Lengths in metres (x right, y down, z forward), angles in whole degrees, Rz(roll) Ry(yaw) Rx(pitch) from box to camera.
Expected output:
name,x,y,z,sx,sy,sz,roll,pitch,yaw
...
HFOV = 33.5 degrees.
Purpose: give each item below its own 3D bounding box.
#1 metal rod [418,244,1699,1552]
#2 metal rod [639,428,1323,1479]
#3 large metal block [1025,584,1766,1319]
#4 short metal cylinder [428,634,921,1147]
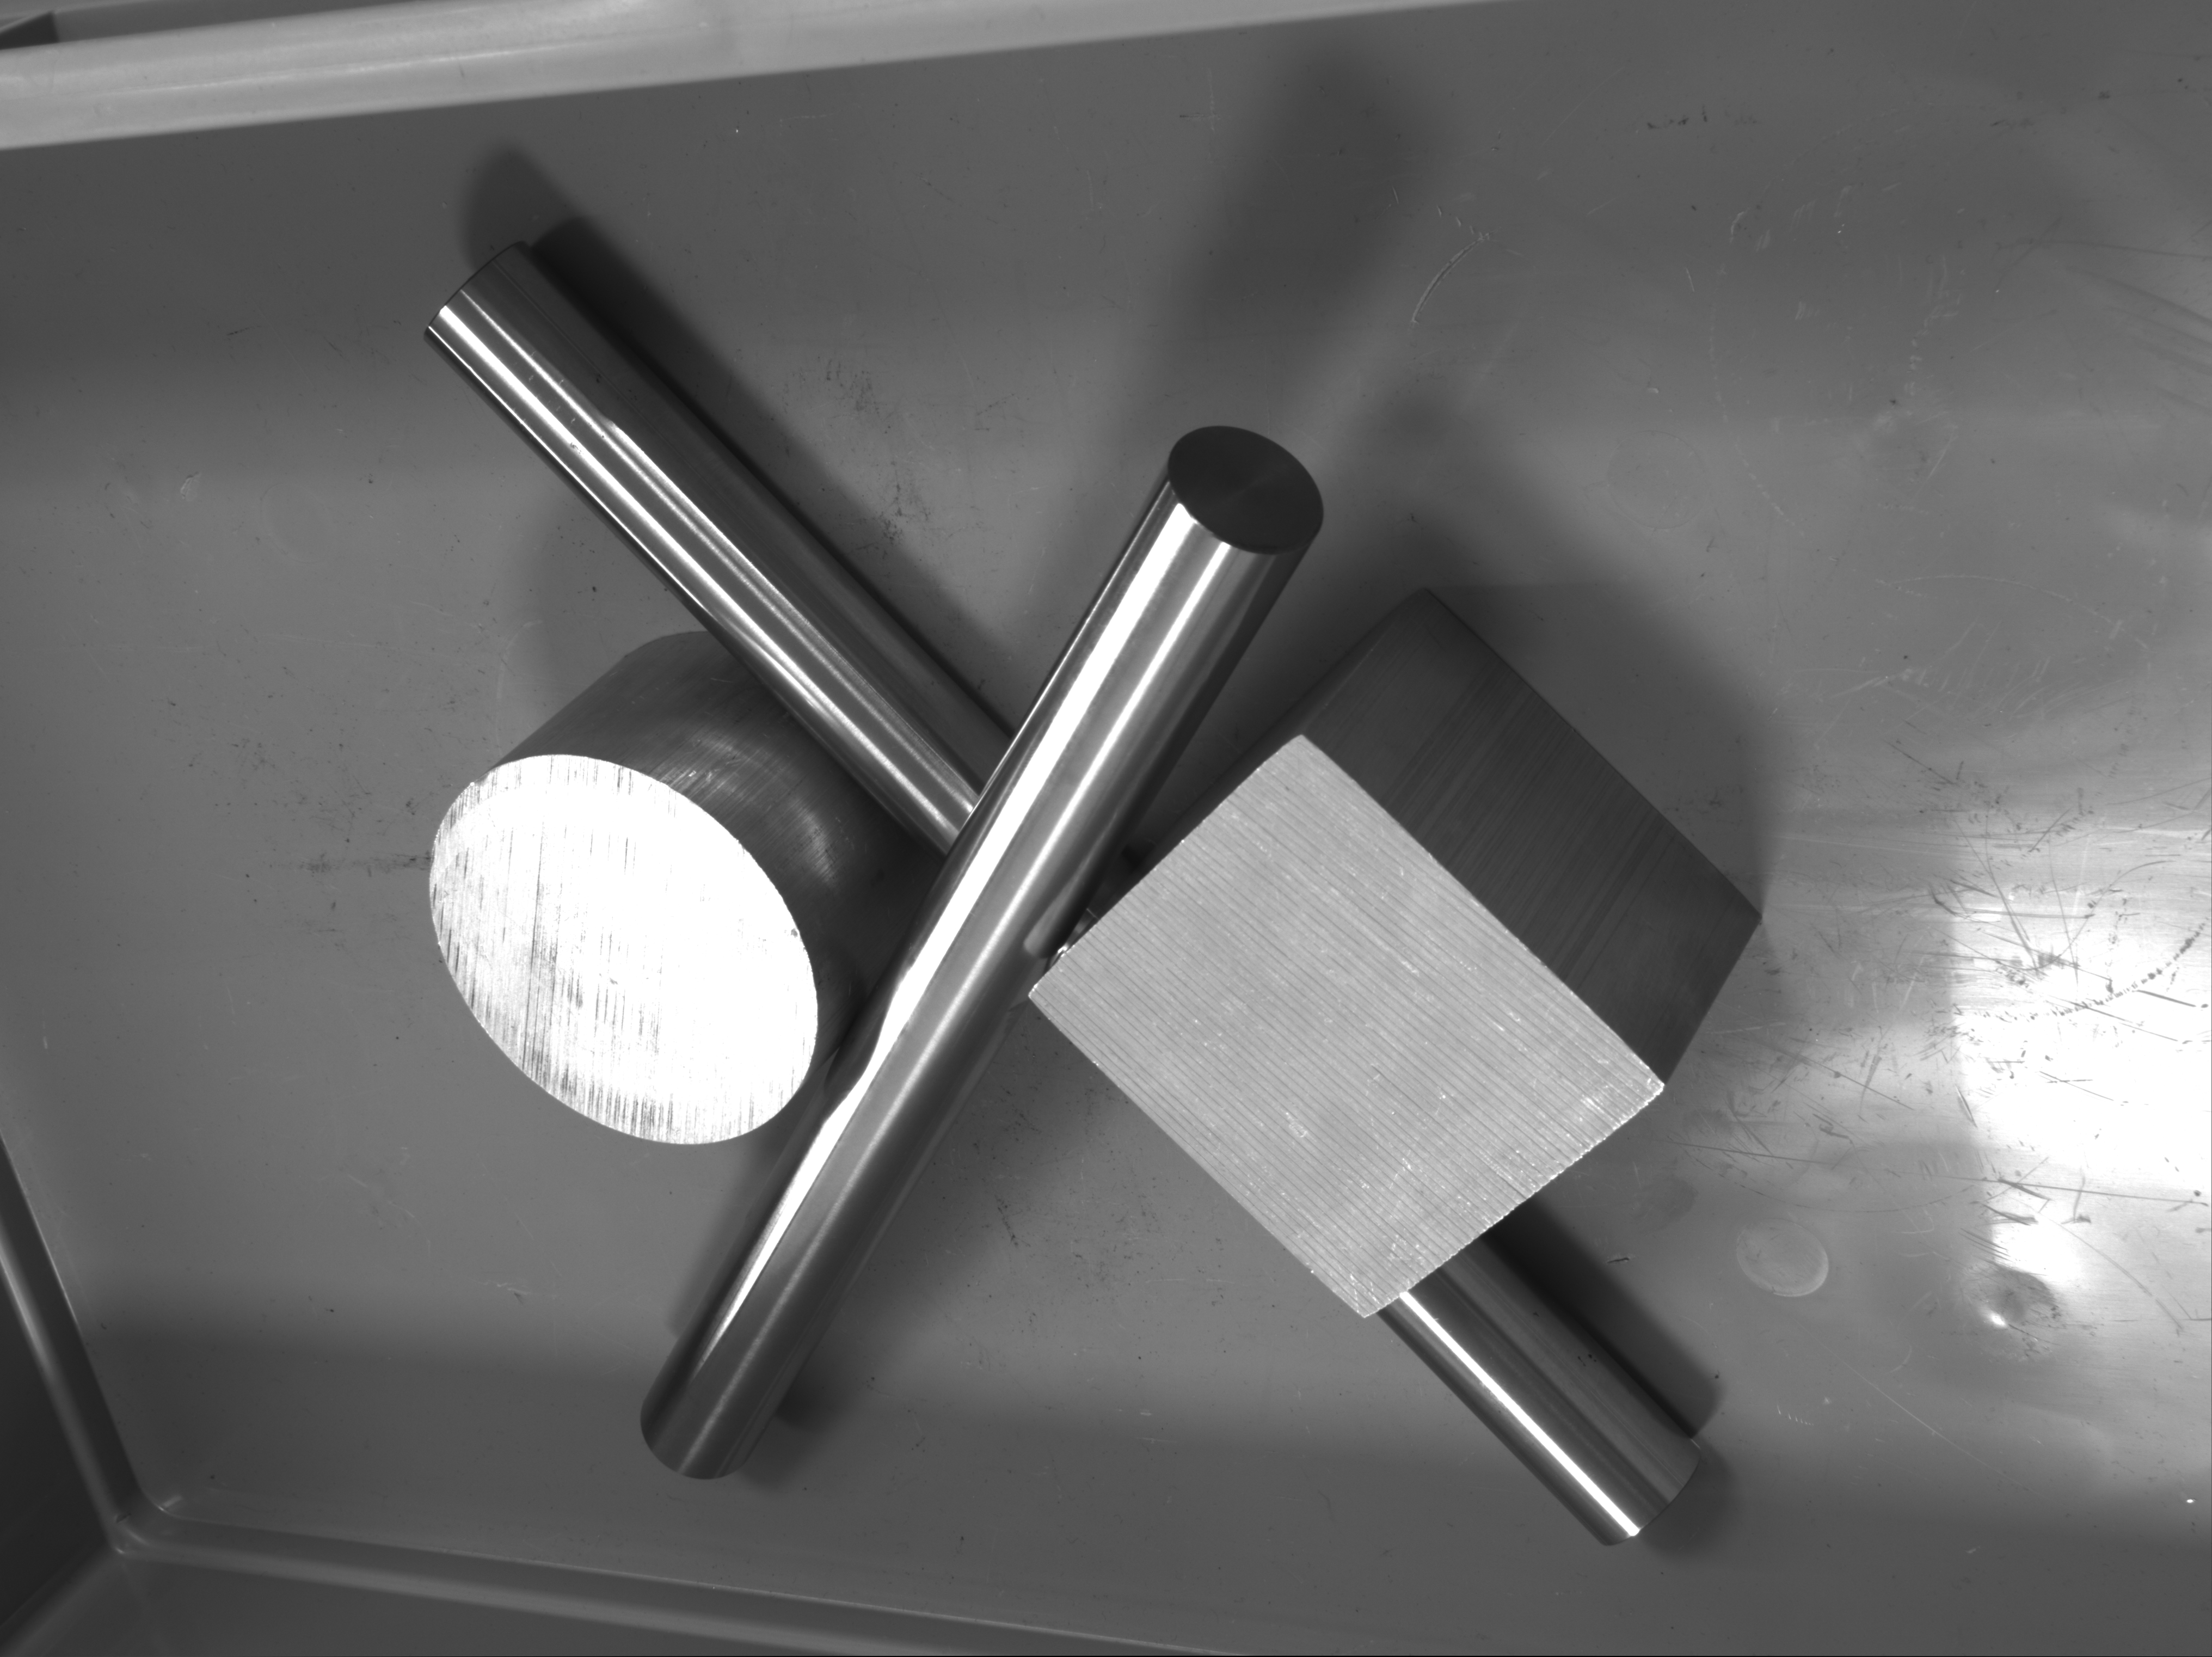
name,x,y,z,sx,sy,sz,roll,pitch,yaw
metal rod,-0.007,0.014,0.652,0.300,0.025,0.025,46,129,-4
metal rod,-0.032,0.037,0.654,0.025,0.025,0.300,36,137,4
large metal block,0.048,0.021,0.611,0.080,0.050,0.080,44,129,-2
short metal cylinder,-0.076,0.011,0.673,0.080,0.050,0.080,13,124,21
